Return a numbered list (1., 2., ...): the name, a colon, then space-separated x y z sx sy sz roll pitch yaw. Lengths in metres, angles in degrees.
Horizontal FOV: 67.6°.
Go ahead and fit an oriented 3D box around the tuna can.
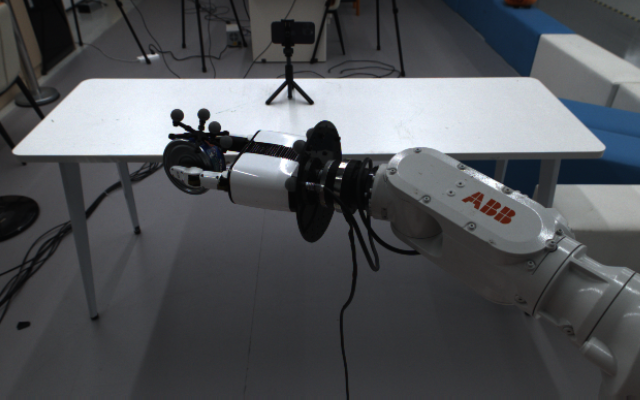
1. tuna can: -0.178 -0.051 0.684 0.085 0.085 0.034 15 31 17
